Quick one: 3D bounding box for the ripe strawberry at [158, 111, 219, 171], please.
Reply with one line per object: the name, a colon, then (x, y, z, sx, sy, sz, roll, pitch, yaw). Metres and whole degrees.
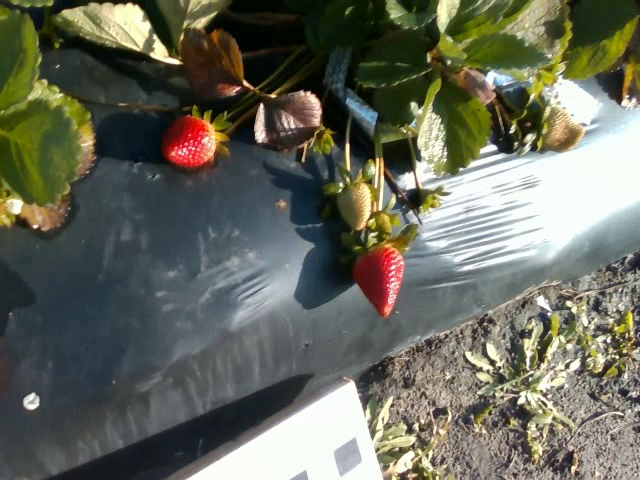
ripe strawberry: (-0.084, -0.061, 0.428, 0.046, 0.035, 0.035, -27, 16, -38)

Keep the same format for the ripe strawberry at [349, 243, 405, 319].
ripe strawberry: (0.042, 0.031, 0.482, 0.042, 0.059, 0.042, 2, -10, -37)
